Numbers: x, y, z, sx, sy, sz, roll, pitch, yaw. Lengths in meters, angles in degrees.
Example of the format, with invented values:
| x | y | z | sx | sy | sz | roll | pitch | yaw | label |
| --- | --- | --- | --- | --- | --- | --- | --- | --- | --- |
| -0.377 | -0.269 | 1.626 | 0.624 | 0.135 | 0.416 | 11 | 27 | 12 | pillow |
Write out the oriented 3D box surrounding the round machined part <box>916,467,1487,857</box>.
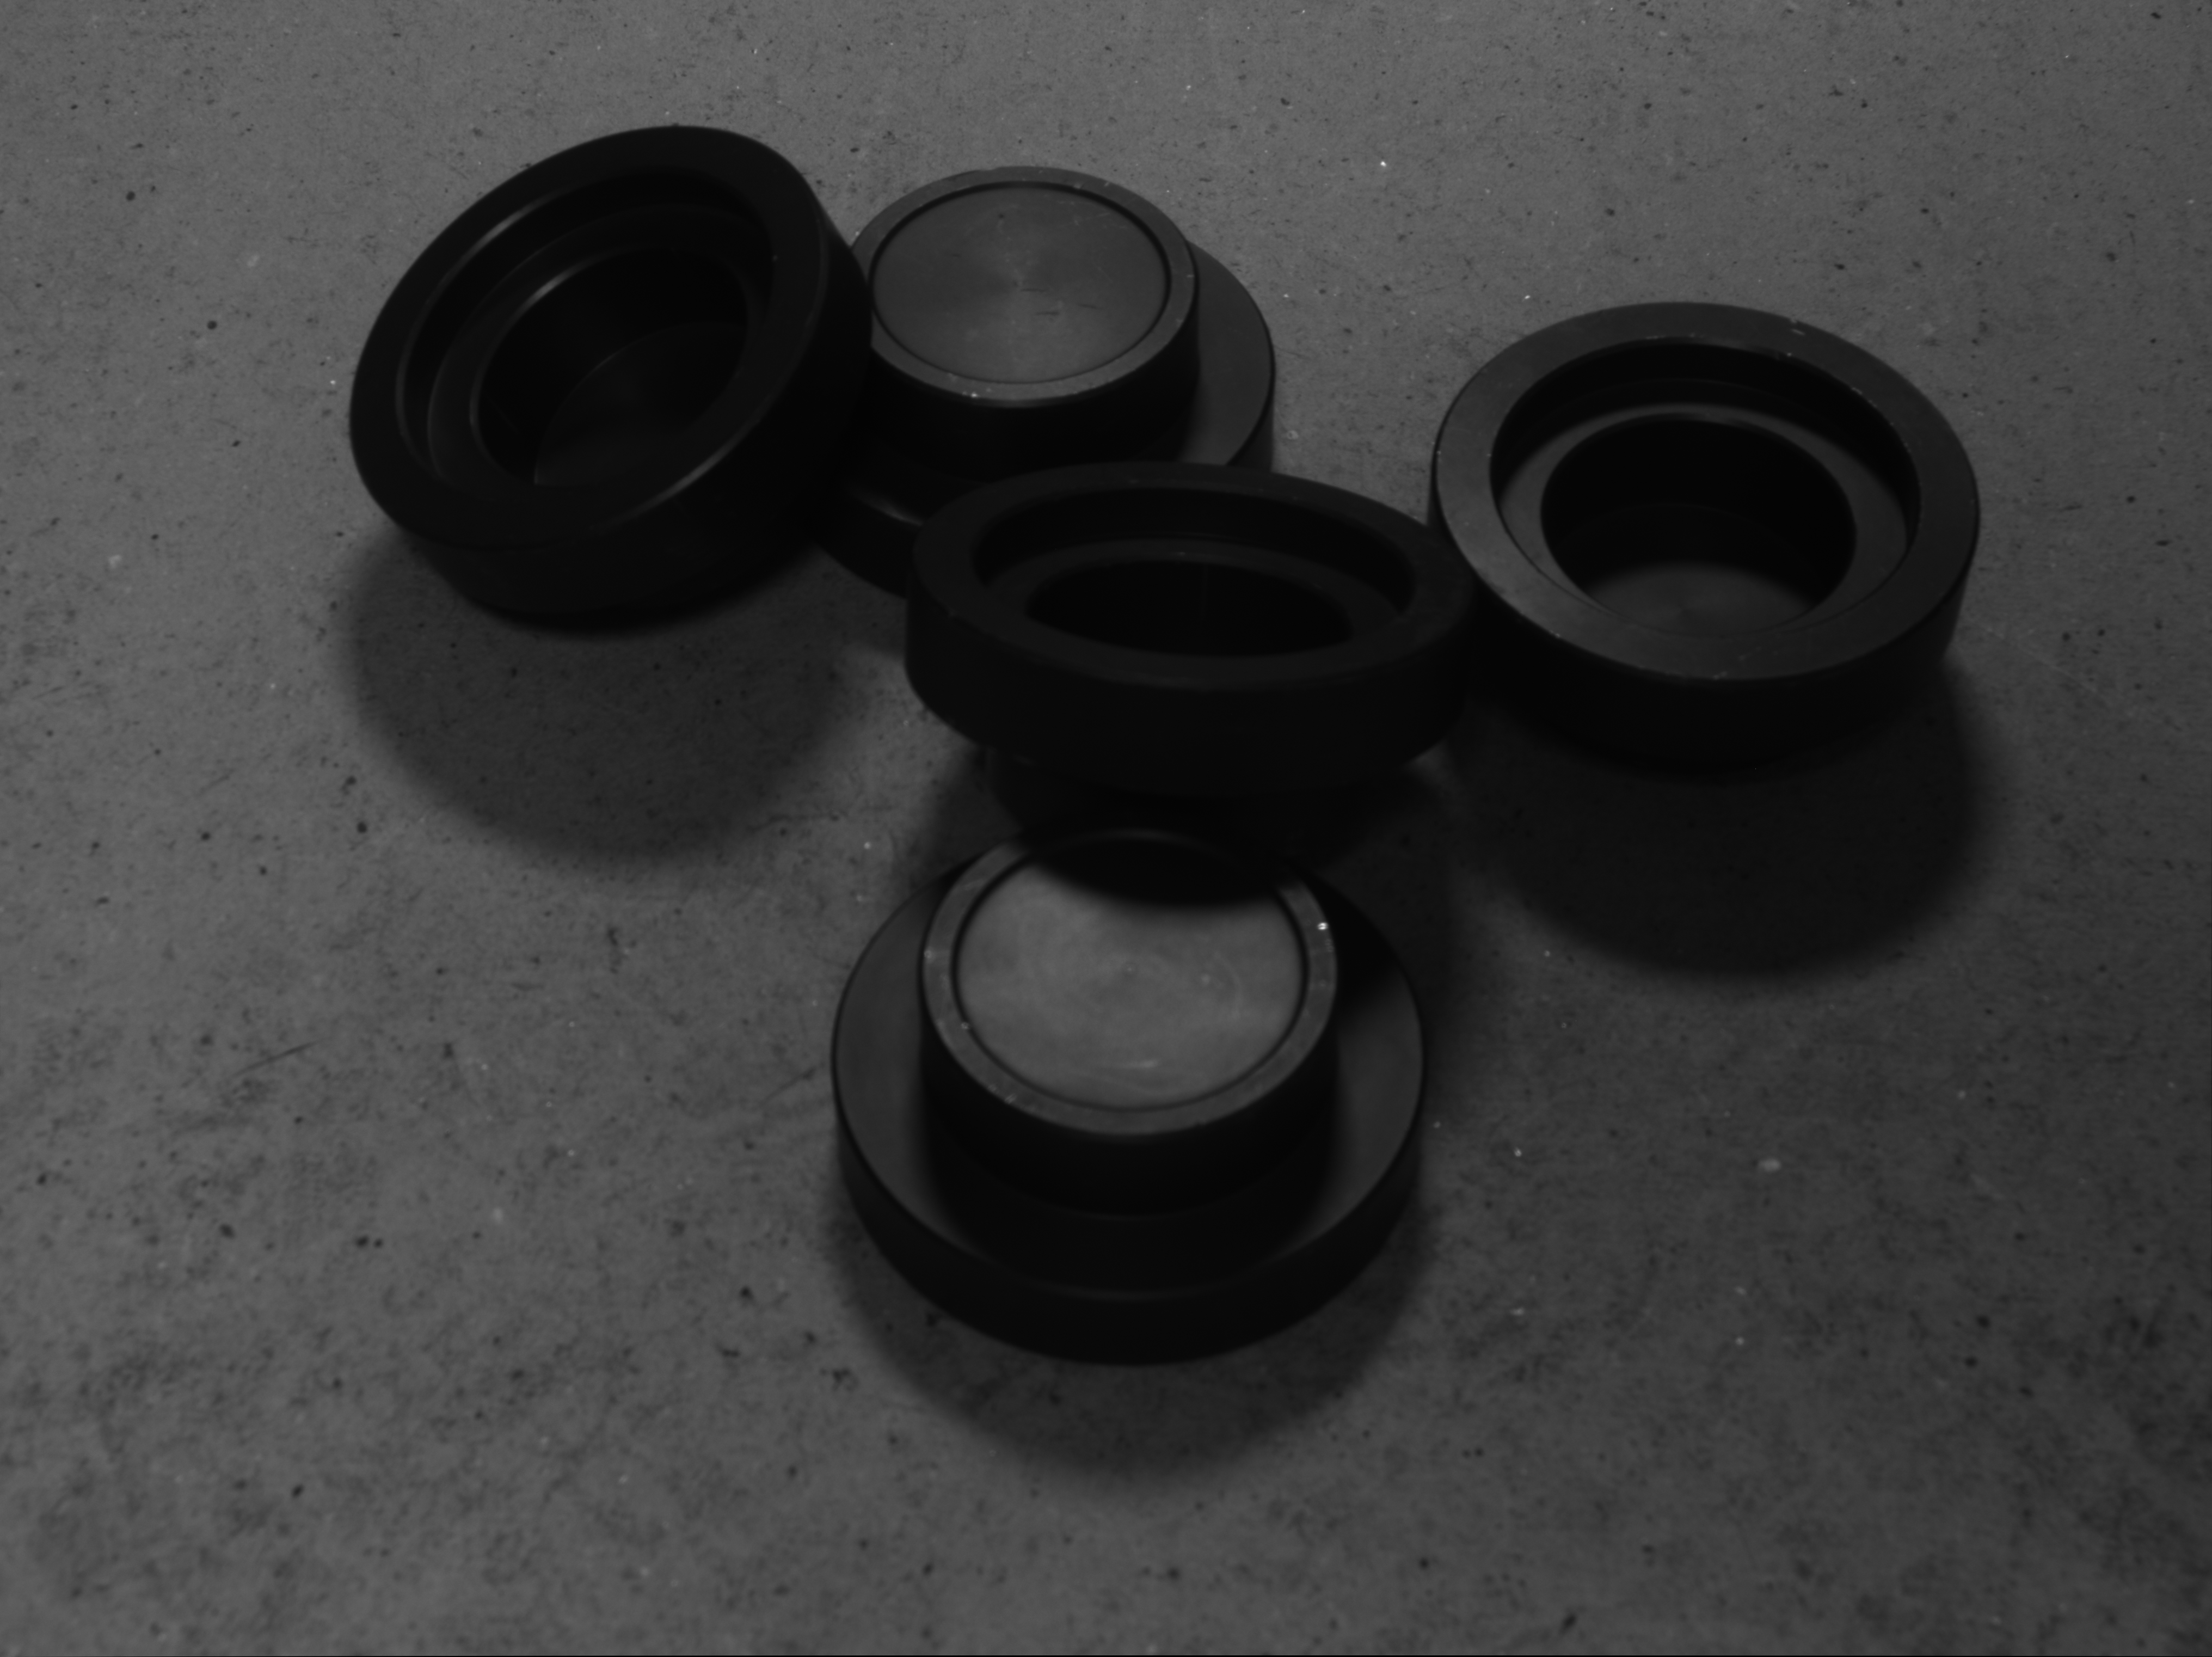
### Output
| x | y | z | sx | sy | sz | roll | pitch | yaw | label |
| --- | --- | --- | --- | --- | --- | --- | --- | --- | --- |
| 0.016 | -0.026 | 0.639 | 0.098 | 0.042 | 0.098 | 2 | 27 | -1 | round machined part |

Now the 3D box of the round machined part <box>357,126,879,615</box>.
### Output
| x | y | z | sx | sy | sz | roll | pitch | yaw | label |
| --- | --- | --- | --- | --- | --- | --- | --- | --- | --- |
| -0.087 | -0.080 | 0.685 | 0.098 | 0.042 | 0.098 | -12 | 55 | 18 | round machined part |

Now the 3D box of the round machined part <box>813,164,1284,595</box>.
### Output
| x | y | z | sx | sy | sz | roll | pitch | yaw | label |
| --- | --- | --- | --- | --- | --- | --- | --- | --- | --- |
| -0.015 | -0.090 | 0.707 | 0.098 | 0.042 | 0.098 | 0 | 50 | 0 | round machined part |

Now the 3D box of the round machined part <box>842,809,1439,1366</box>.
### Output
| x | y | z | sx | sy | sz | roll | pitch | yaw | label |
| --- | --- | --- | --- | --- | --- | --- | --- | --- | --- |
| 0.006 | 0.035 | 0.600 | 0.098 | 0.042 | 0.098 | 0 | 50 | 0 | round machined part |

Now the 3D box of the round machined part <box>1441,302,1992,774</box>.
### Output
| x | y | z | sx | sy | sz | roll | pitch | yaw | label |
| --- | --- | --- | --- | --- | --- | --- | --- | --- | --- |
| 0.109 | -0.049 | 0.672 | 0.098 | 0.042 | 0.098 | 0 | 50 | 0 | round machined part |
